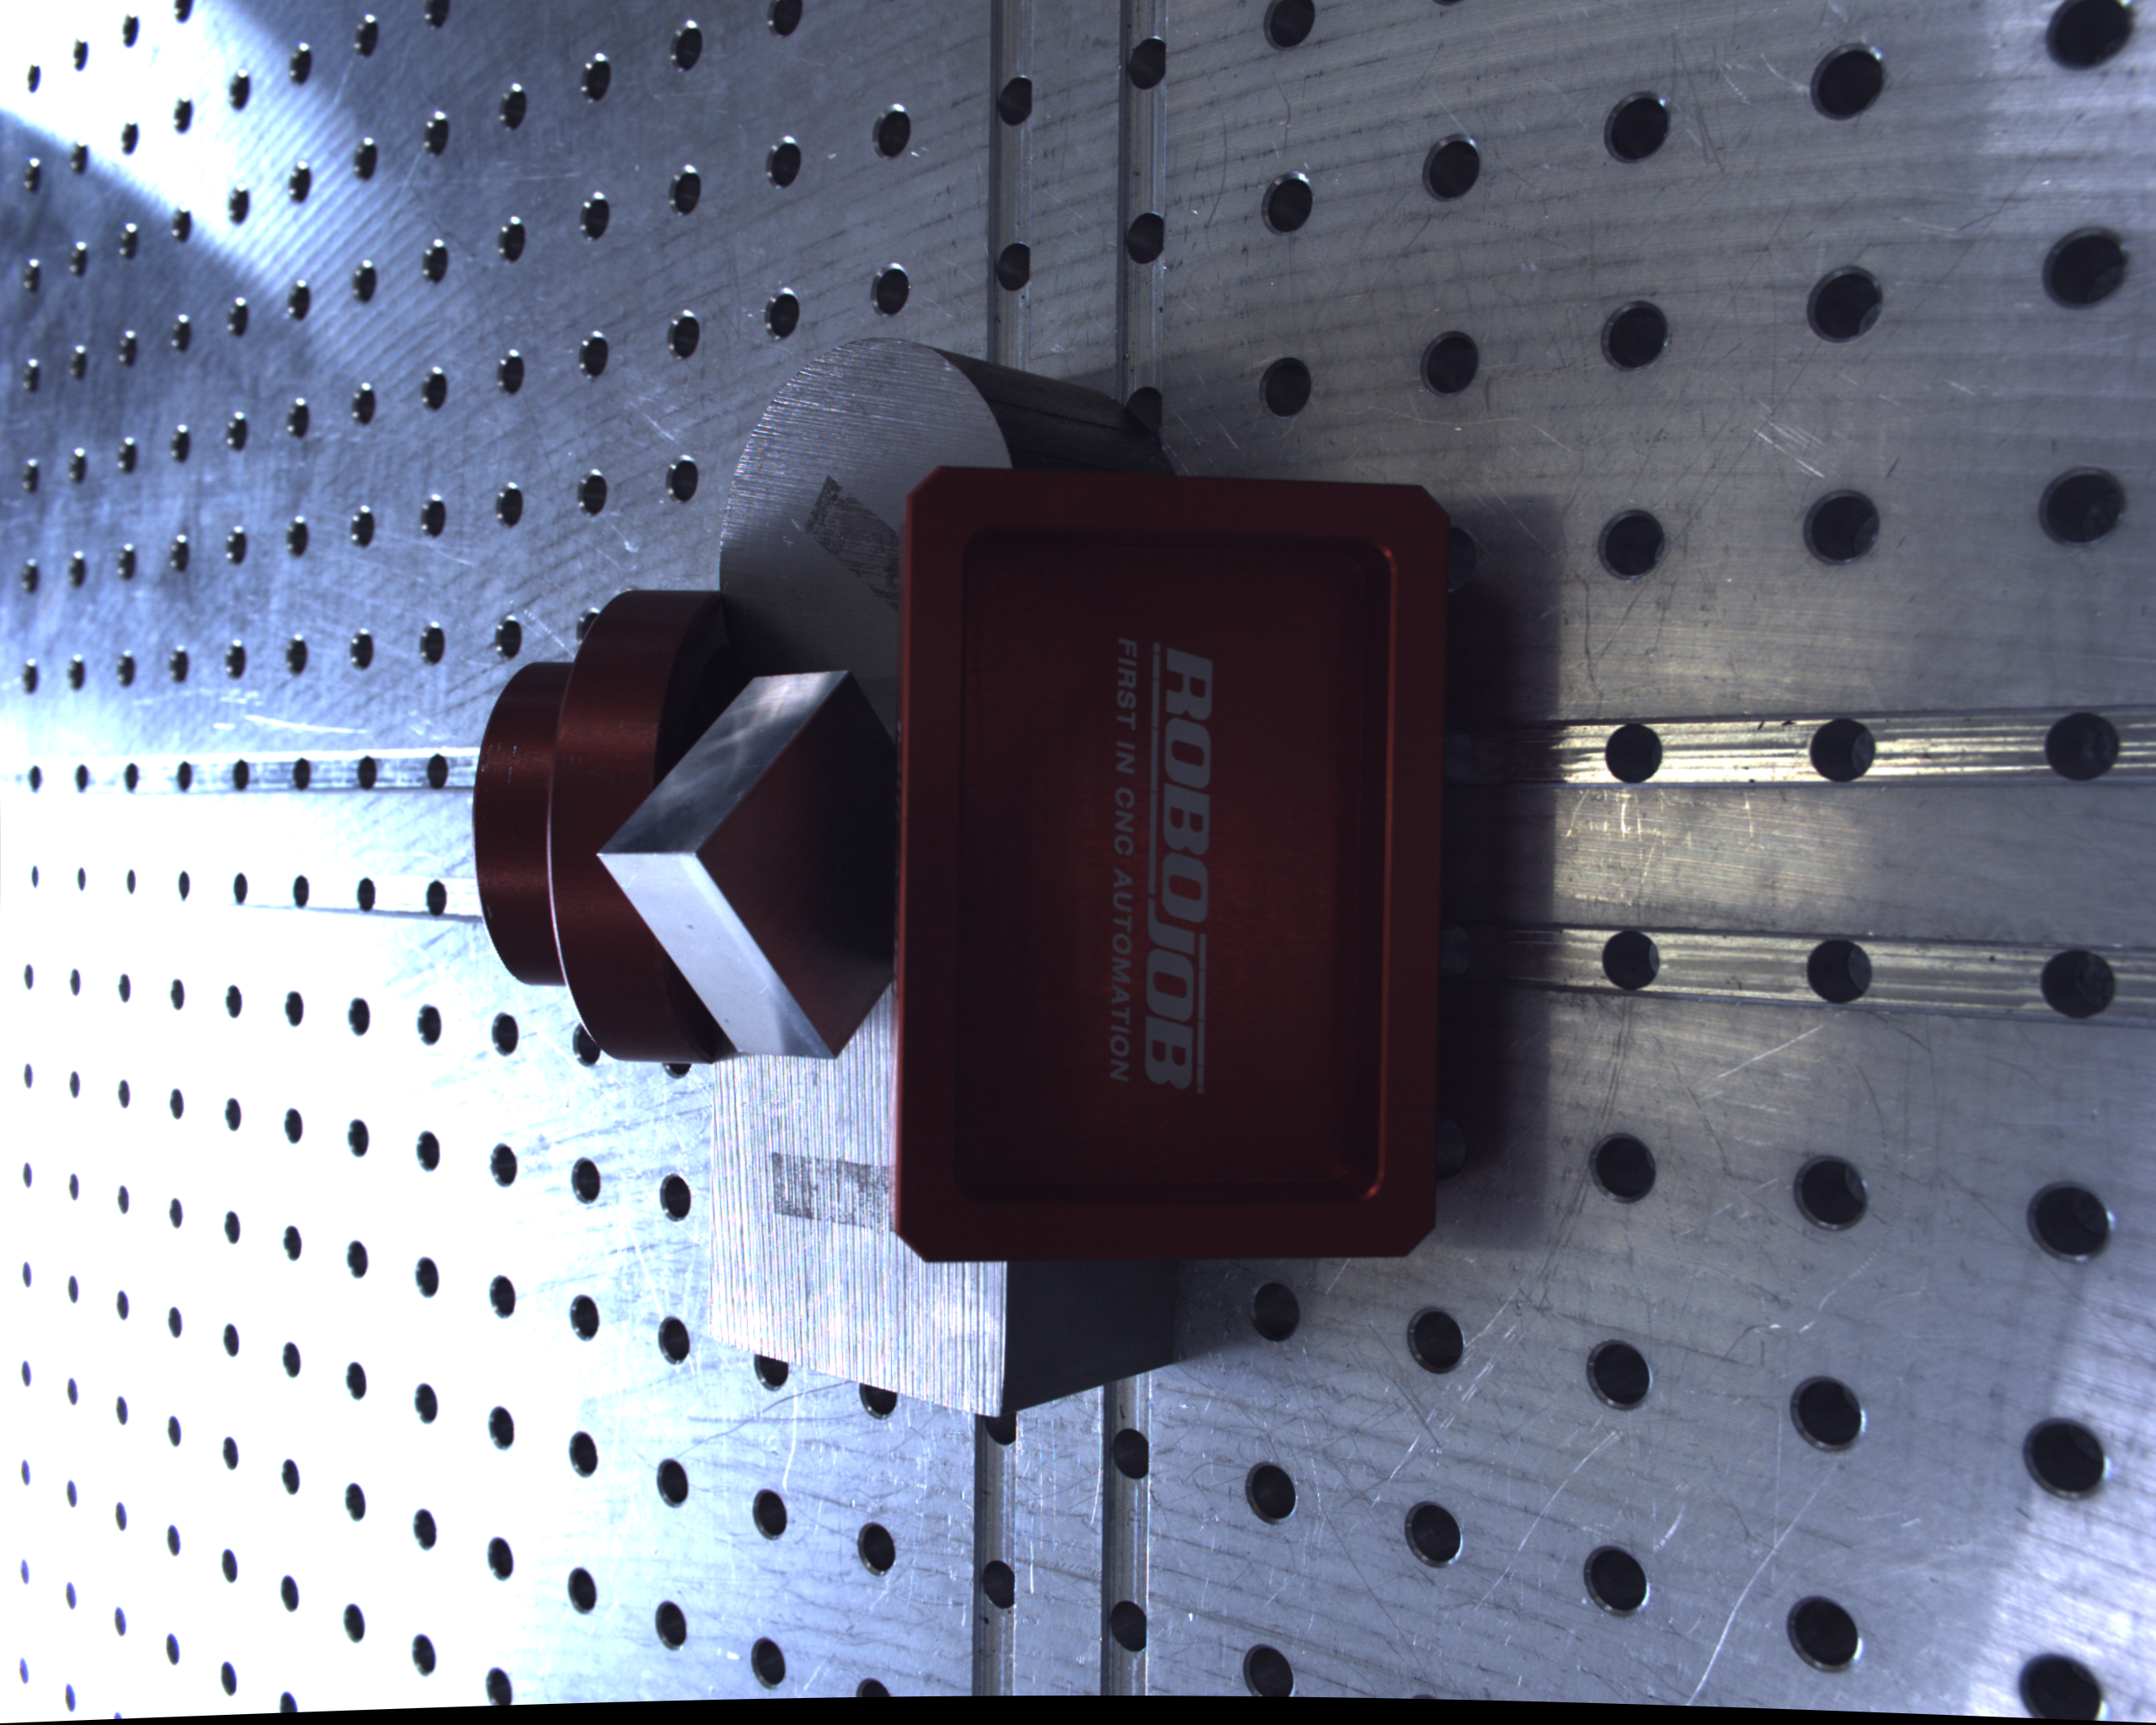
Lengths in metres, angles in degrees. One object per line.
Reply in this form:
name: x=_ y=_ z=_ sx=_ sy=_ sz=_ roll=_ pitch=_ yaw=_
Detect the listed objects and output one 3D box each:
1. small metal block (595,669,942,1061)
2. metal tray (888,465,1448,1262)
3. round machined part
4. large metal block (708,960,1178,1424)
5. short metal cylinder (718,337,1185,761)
small metal block: x=-0.052 y=0.000 z=0.381 sx=0.025 sy=0.050 sz=0.050 roll=0 pitch=132 yaw=37
metal tray: x=0.014 y=0.001 z=0.357 sx=0.030 sy=0.091 sz=0.129 roll=-174 pitch=85 yaw=-83
round machined part: x=-0.093 y=-0.007 z=0.433 sx=0.042 sy=0.098 sz=0.097 roll=1 pitch=91 yaw=7
large metal block: x=-0.027 y=0.058 z=0.415 sx=0.080 sy=0.050 sz=0.079 roll=3 pitch=92 yaw=40
short metal cylinder: x=-0.025 y=-0.059 z=0.413 sx=0.080 sy=0.050 sz=0.080 roll=0 pitch=90 yaw=40
